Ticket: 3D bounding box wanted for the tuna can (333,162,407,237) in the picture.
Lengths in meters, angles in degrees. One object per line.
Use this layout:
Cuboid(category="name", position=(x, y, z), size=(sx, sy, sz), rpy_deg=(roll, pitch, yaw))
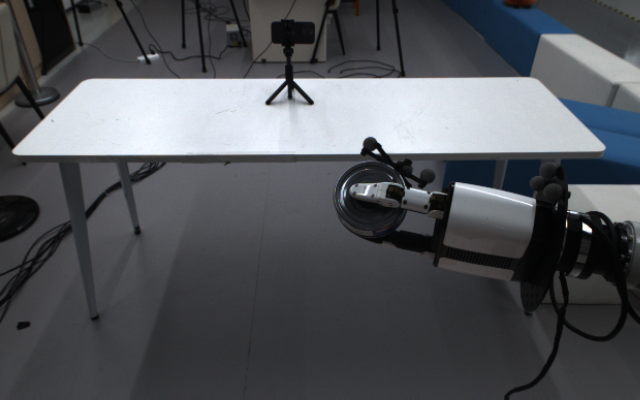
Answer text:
Cuboid(category="tuna can", position=(0.063, 0.004, 0.558), size=(0.085, 0.034, 0.085), rpy_deg=(-4, 69, 10))
